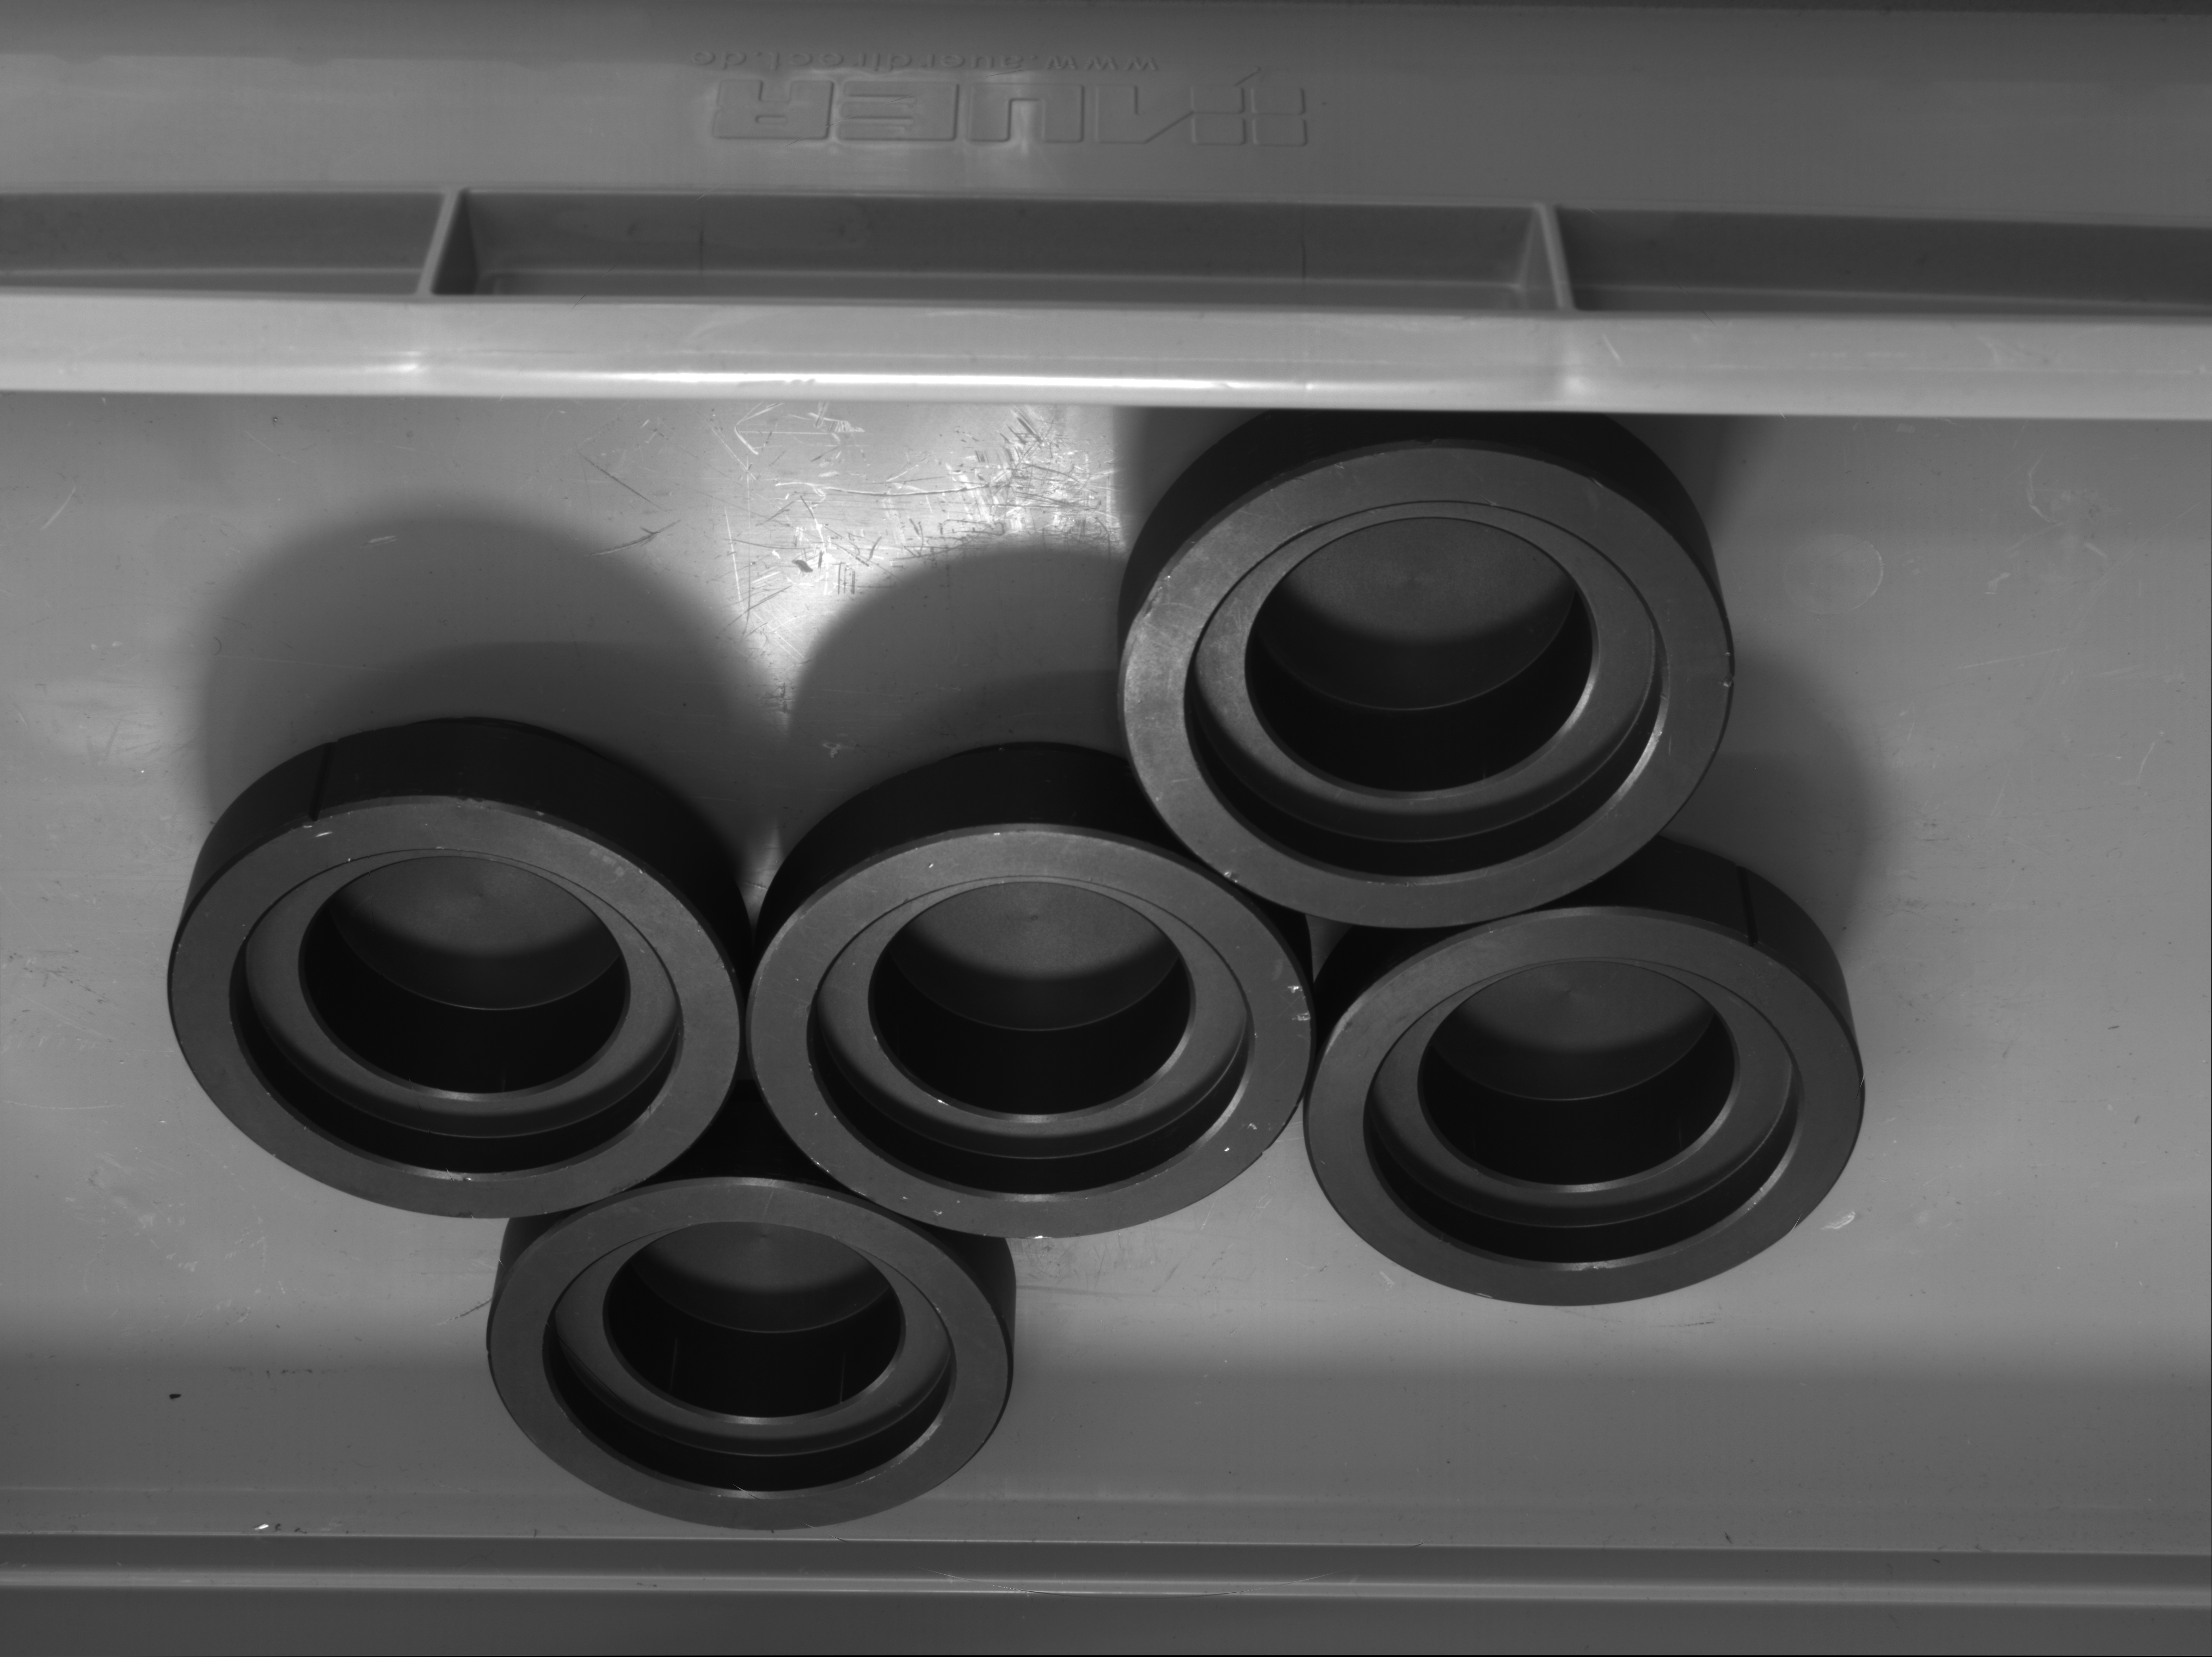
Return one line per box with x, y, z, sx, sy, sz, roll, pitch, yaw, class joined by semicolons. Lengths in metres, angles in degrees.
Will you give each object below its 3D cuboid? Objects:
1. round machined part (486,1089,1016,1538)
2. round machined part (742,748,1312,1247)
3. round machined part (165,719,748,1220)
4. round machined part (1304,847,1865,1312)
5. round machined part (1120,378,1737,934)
-0.066;0.088;0.698;0.098;0.042;0.098;0;130;0;round machined part
-0.013;0.025;0.645;0.098;0.042;0.098;0;130;0;round machined part
-0.111;0.020;0.642;0.098;0.042;0.098;0;130;0;round machined part
0.084;0.038;0.657;0.098;0.042;0.098;0;130;0;round machined part
0.051;-0.033;0.598;0.098;0.042;0.098;0;130;0;round machined part
